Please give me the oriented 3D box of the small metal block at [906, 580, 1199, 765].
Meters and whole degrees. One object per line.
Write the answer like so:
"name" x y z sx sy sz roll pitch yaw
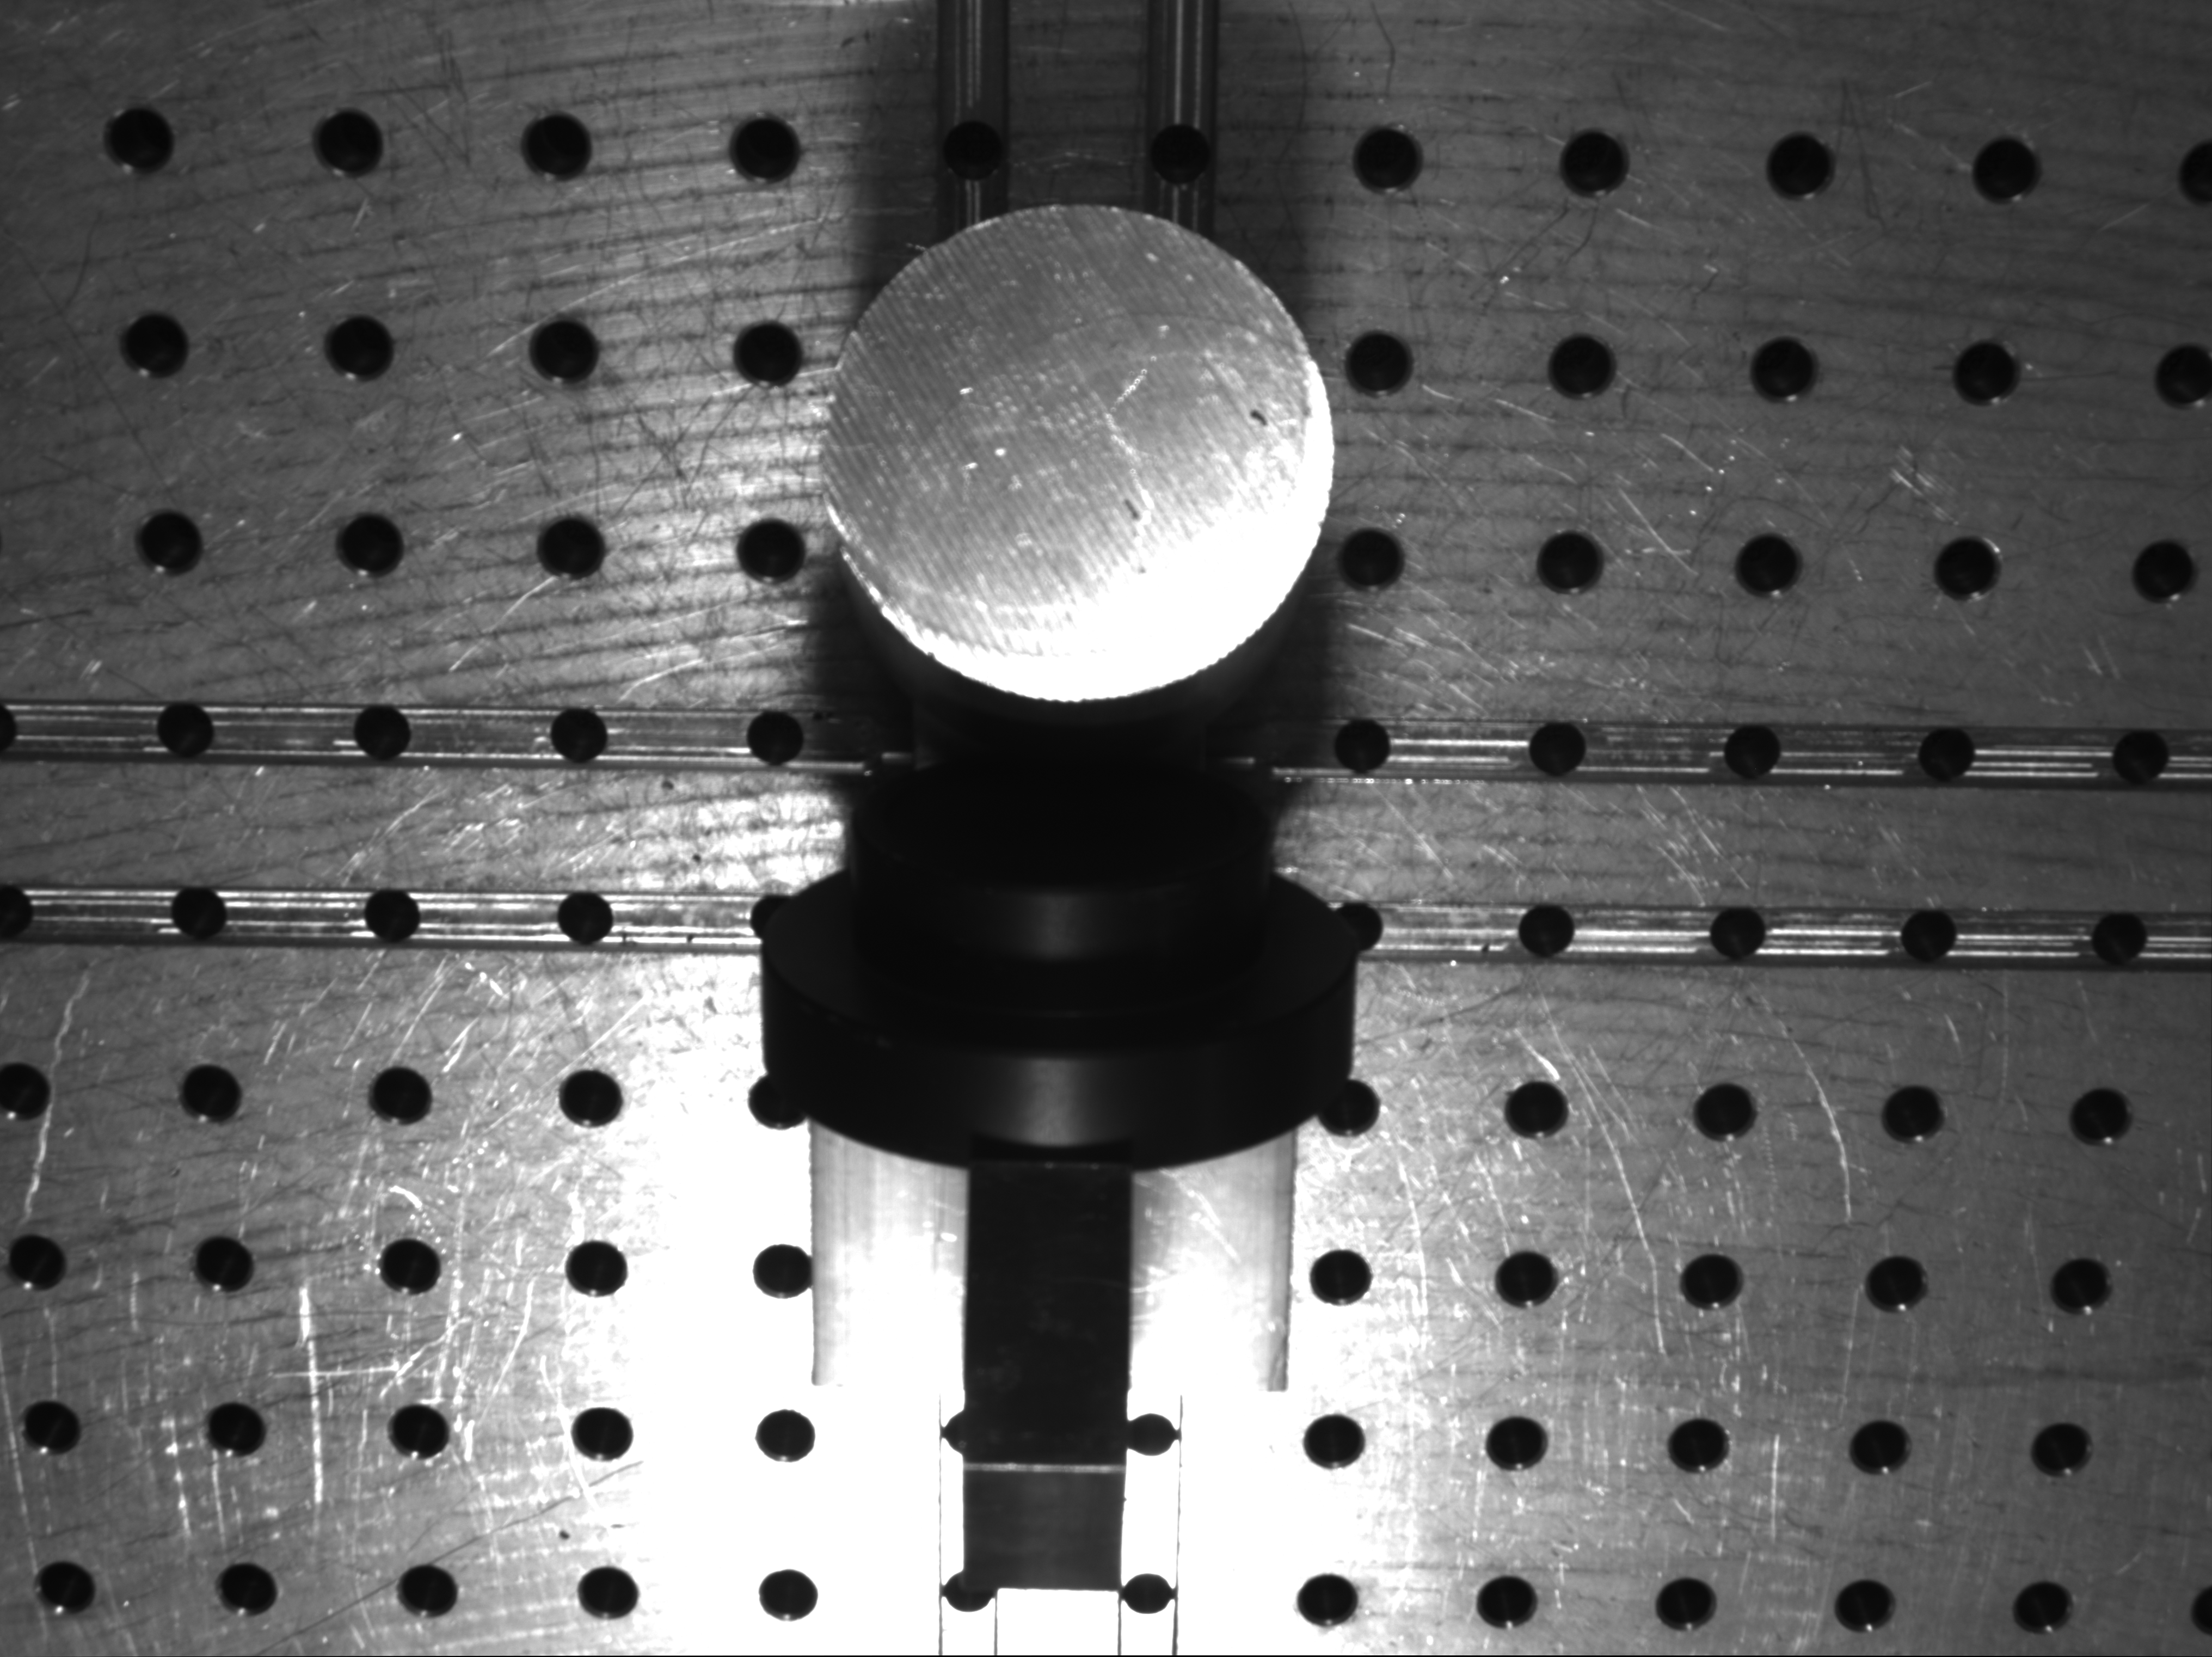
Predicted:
"small metal block" -0.009 -0.021 0.637 0.050 0.025 0.050 1 110 -1

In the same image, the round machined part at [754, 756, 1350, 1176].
"round machined part" -0.009 0.018 0.602 0.098 0.098 0.042 1 110 -1

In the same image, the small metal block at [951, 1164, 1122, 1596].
"small metal block" -0.011 0.086 0.567 0.025 0.050 0.050 1 148 -1

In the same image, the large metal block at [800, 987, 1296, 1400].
"large metal block" -0.010 0.057 0.636 0.080 0.080 0.050 1 110 -1

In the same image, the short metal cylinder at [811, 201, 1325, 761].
"short metal cylinder" -0.006 -0.055 0.594 0.080 0.050 0.080 0 80 -1
